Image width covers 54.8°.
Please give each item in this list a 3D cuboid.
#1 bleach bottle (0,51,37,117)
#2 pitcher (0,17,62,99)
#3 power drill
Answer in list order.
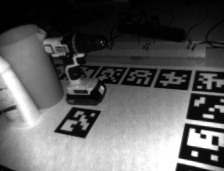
[{"bbox_3d":[-0.310,-0.019,0.595,0.102,0.253,0.068,-4,41,17],"label":"bleach bottle"},{"bbox_3d":[-0.262,-0.071,0.673,0.188,0.245,0.132,-16,40,2],"label":"pitcher"},{"bbox_3d":[-0.100,-0.069,0.630,0.183,0.188,0.057,3,45,14],"label":"power drill"}]
